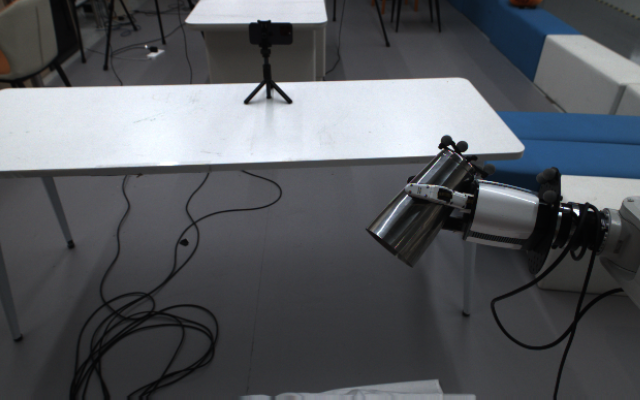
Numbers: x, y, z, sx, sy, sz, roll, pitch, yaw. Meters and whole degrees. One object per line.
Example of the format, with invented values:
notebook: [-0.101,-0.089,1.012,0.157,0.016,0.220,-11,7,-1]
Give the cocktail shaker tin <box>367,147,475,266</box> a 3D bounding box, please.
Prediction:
cocktail shaker tin: [0.159,0.003,0.737,0.170,0.093,0.093,-48,49,-4]
